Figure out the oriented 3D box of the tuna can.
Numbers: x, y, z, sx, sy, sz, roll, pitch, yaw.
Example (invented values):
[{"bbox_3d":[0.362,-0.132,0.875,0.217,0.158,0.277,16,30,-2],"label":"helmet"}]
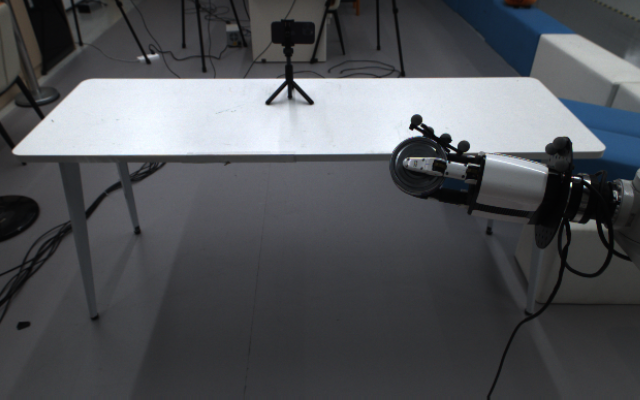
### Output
[{"bbox_3d":[0.150,-0.044,0.716,0.085,0.085,0.034,12,-4,15],"label":"tuna can"}]
